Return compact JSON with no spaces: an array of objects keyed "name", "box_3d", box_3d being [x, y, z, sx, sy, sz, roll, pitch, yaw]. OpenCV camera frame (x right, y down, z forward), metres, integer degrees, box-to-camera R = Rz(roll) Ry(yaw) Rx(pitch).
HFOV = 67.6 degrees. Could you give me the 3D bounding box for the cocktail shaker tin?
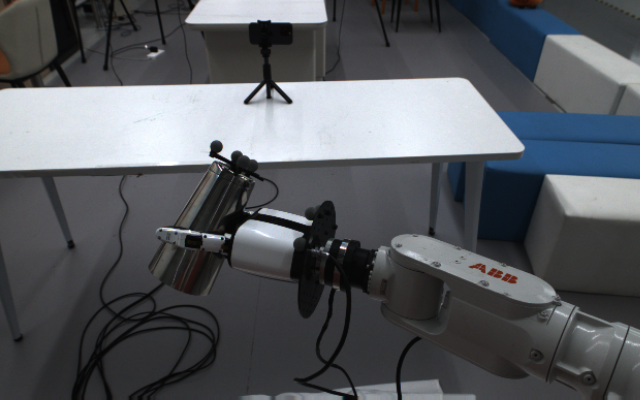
[{"name":"cocktail shaker tin","box_3d":[-0.157,0.033,0.674,0.093,0.170,0.093,28,2,-1]}]
